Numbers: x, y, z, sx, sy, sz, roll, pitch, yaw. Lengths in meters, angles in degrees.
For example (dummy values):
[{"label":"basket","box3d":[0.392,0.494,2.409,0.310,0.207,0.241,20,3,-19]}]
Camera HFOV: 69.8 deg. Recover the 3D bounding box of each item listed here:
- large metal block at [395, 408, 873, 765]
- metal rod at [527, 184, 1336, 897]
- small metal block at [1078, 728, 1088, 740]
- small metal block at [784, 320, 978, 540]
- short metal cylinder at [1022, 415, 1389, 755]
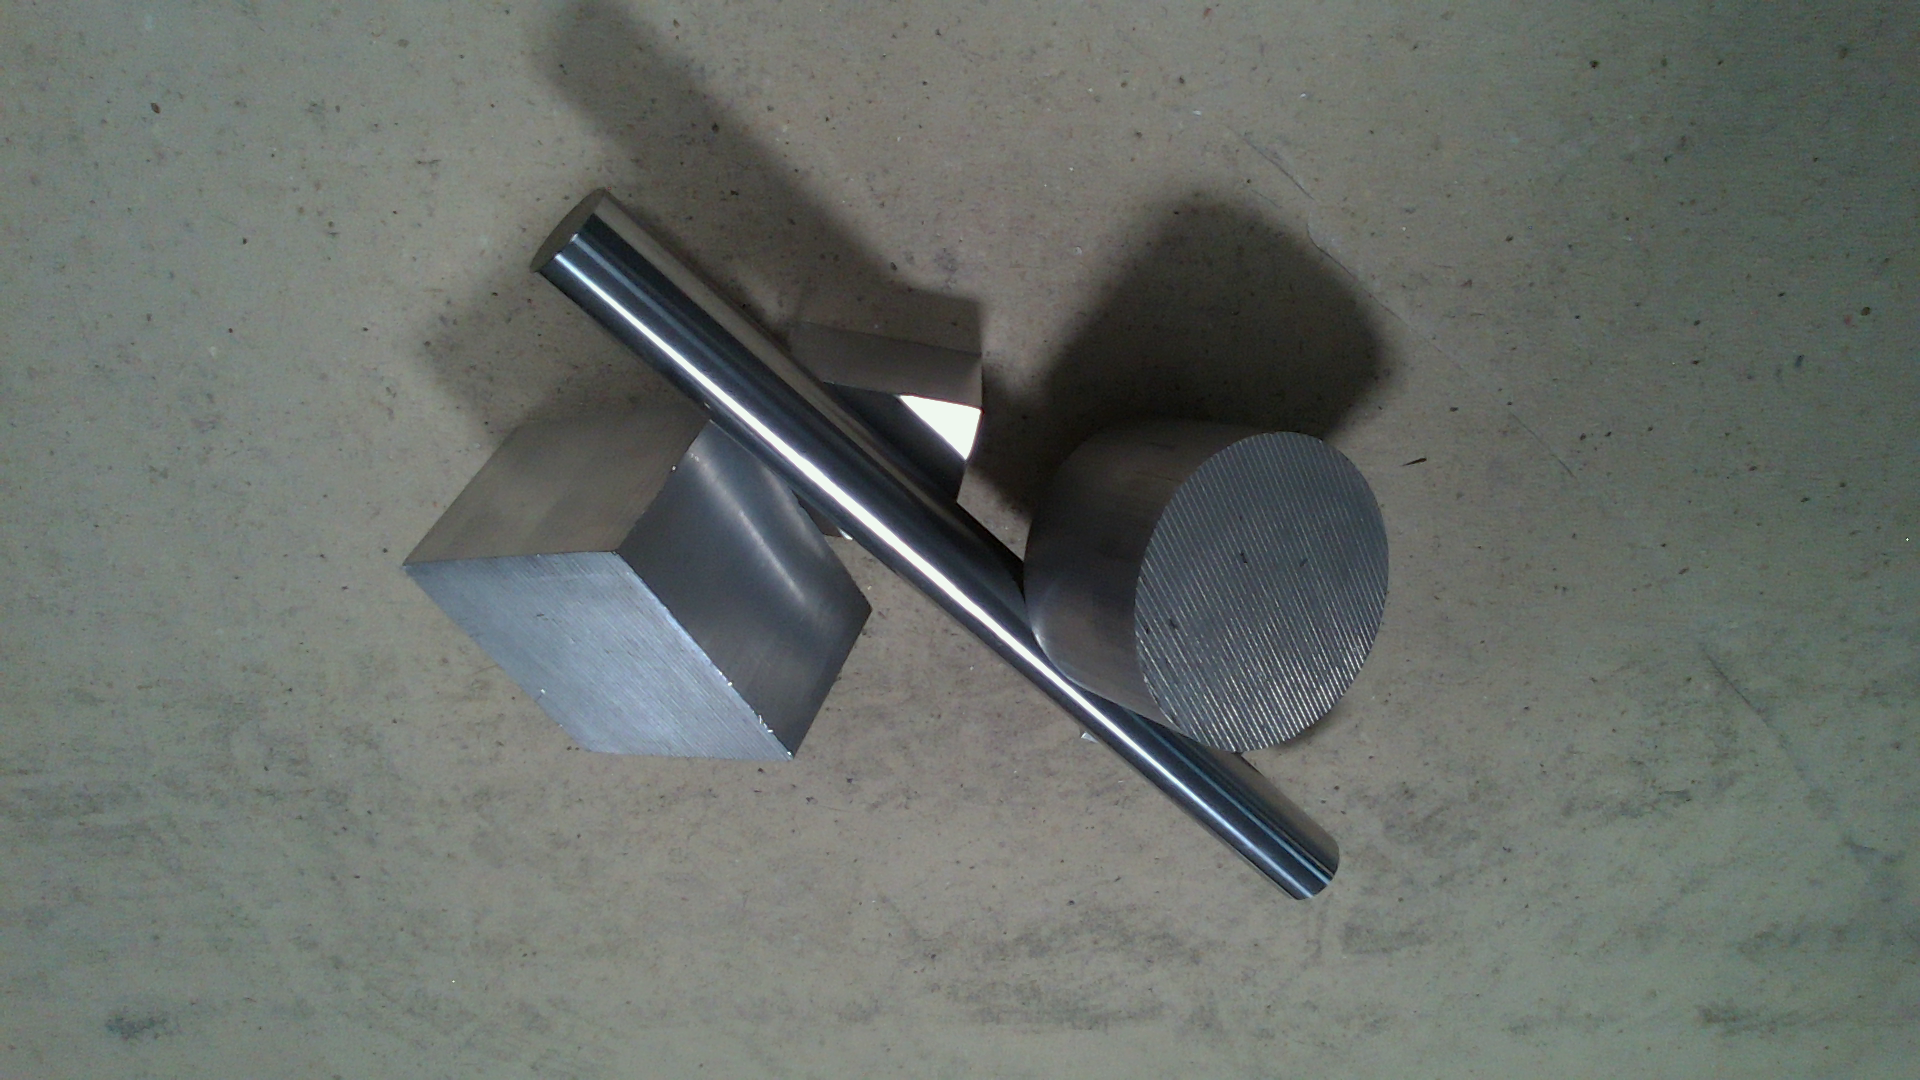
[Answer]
[{"label":"large metal block","box3d":[-0.083,0.014,0.364,0.080,0.050,0.080,-3,135,34]},{"label":"metal rod","box3d":[0.013,0.018,0.374,0.025,0.025,0.301,-34,123,25]},{"label":"small metal block","box3d":[0.070,0.044,0.428,0.050,0.025,0.050,19,128,-16]},{"label":"small metal block","box3d":[-0.025,-0.027,0.368,0.050,0.025,0.050,9,130,-8]},{"label":"short metal cylinder","box3d":[0.063,0.010,0.357,0.080,0.050,0.080,-6,102,-29]}]
